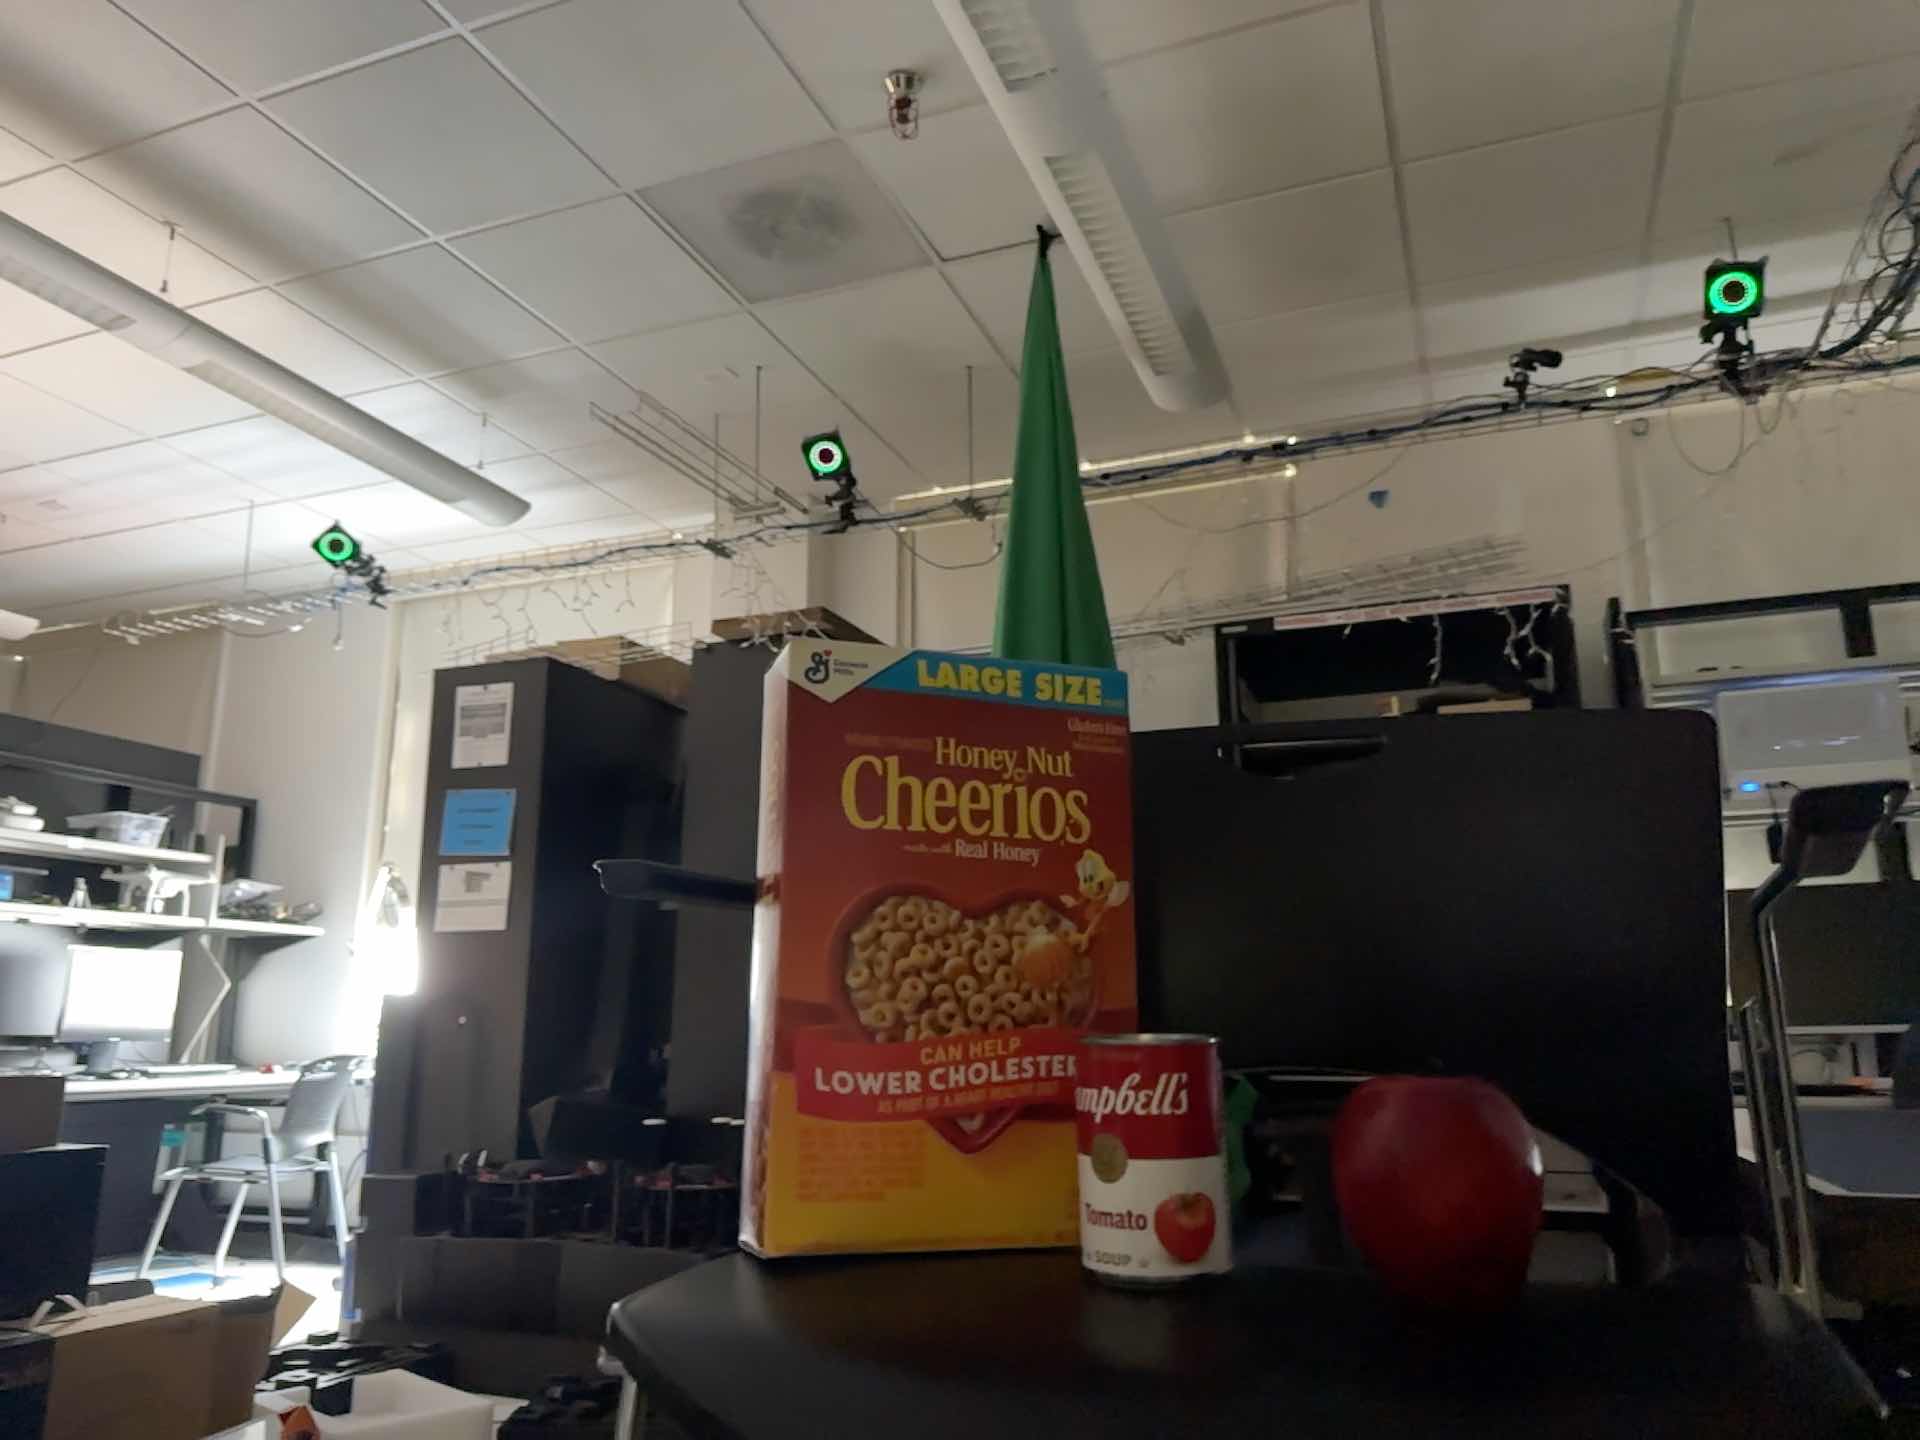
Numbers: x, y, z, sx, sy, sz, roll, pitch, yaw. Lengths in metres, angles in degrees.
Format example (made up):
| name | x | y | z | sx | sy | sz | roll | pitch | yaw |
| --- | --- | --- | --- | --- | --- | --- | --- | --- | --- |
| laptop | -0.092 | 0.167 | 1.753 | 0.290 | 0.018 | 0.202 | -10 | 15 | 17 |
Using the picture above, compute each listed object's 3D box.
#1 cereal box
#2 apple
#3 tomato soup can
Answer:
| name | x | y | z | sx | sy | sz | roll | pitch | yaw |
| --- | --- | --- | --- | --- | --- | --- | --- | --- | --- |
| cereal box | -0.008 | 0.115 | 0.722 | 0.195 | 0.297 | 0.065 | 5 | -13 | -18 |
| apple | 0.193 | 0.181 | 0.533 | 0.079 | 0.093 | 0.079 | -3 | -7 | 0 |
| tomato soup can | 0.088 | 0.194 | 0.610 | 0.067 | 0.102 | 0.067 | 0 | -10 | 0 |
